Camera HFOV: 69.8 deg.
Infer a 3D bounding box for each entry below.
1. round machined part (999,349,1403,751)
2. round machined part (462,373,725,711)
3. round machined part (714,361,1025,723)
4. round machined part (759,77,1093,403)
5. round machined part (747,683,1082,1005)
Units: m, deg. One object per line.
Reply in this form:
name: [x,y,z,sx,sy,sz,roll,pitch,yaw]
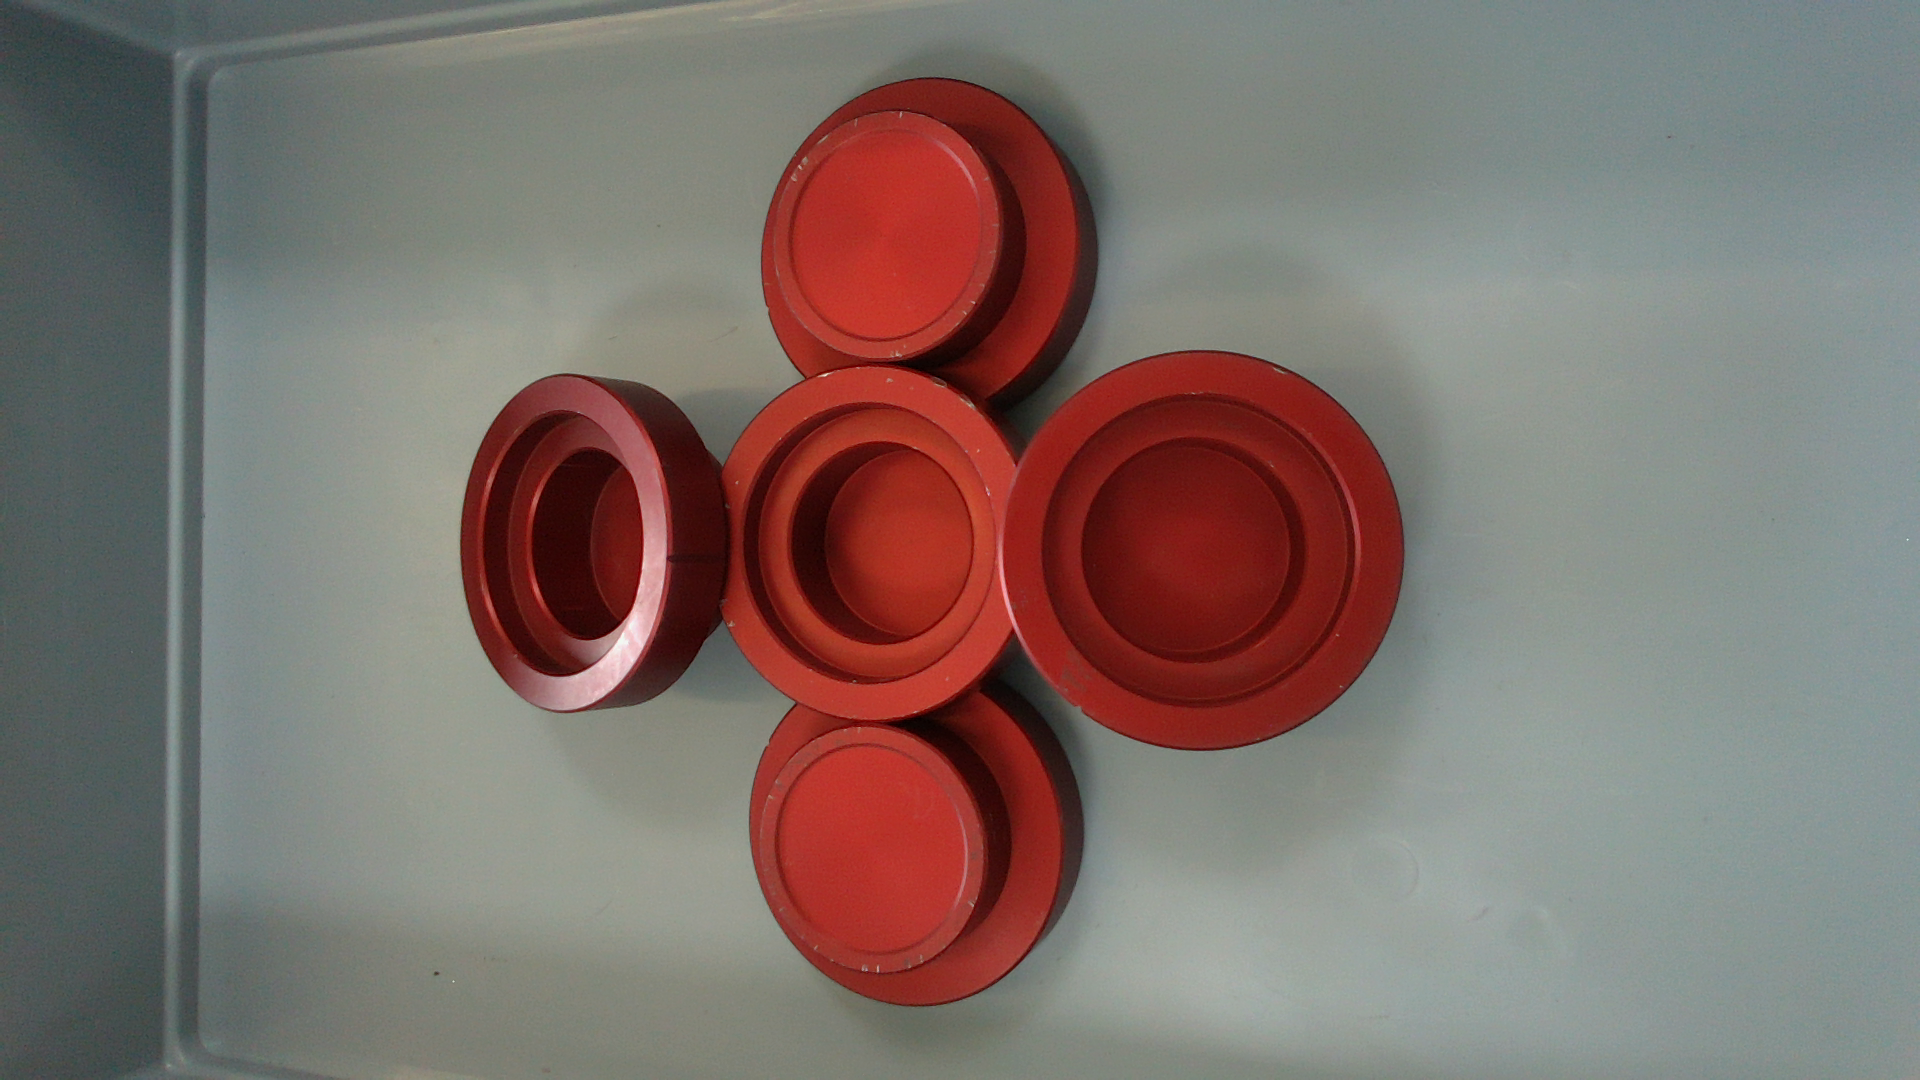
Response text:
round machined part: [0.060,0.002,0.355,0.098,0.042,0.098,0,90,3]
round machined part: [-0.104,0.001,0.414,0.098,0.042,0.098,0,90,37]
round machined part: [-0.019,0.000,0.392,0.098,0.042,0.098,0,90,20]
round machined part: [-0.014,-0.083,0.390,0.098,0.042,0.098,0,90,20]
round machined part: [-0.018,0.084,0.392,0.098,0.042,0.098,0,90,20]
